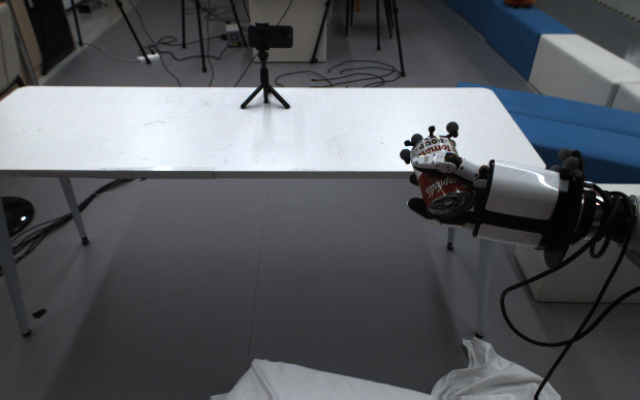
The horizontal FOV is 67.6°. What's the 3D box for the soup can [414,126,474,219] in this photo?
[{"bbox_3d":[0.173,-0.034,0.688,0.067,0.067,0.101,-5,57,-10],"label":"soup can"}]
